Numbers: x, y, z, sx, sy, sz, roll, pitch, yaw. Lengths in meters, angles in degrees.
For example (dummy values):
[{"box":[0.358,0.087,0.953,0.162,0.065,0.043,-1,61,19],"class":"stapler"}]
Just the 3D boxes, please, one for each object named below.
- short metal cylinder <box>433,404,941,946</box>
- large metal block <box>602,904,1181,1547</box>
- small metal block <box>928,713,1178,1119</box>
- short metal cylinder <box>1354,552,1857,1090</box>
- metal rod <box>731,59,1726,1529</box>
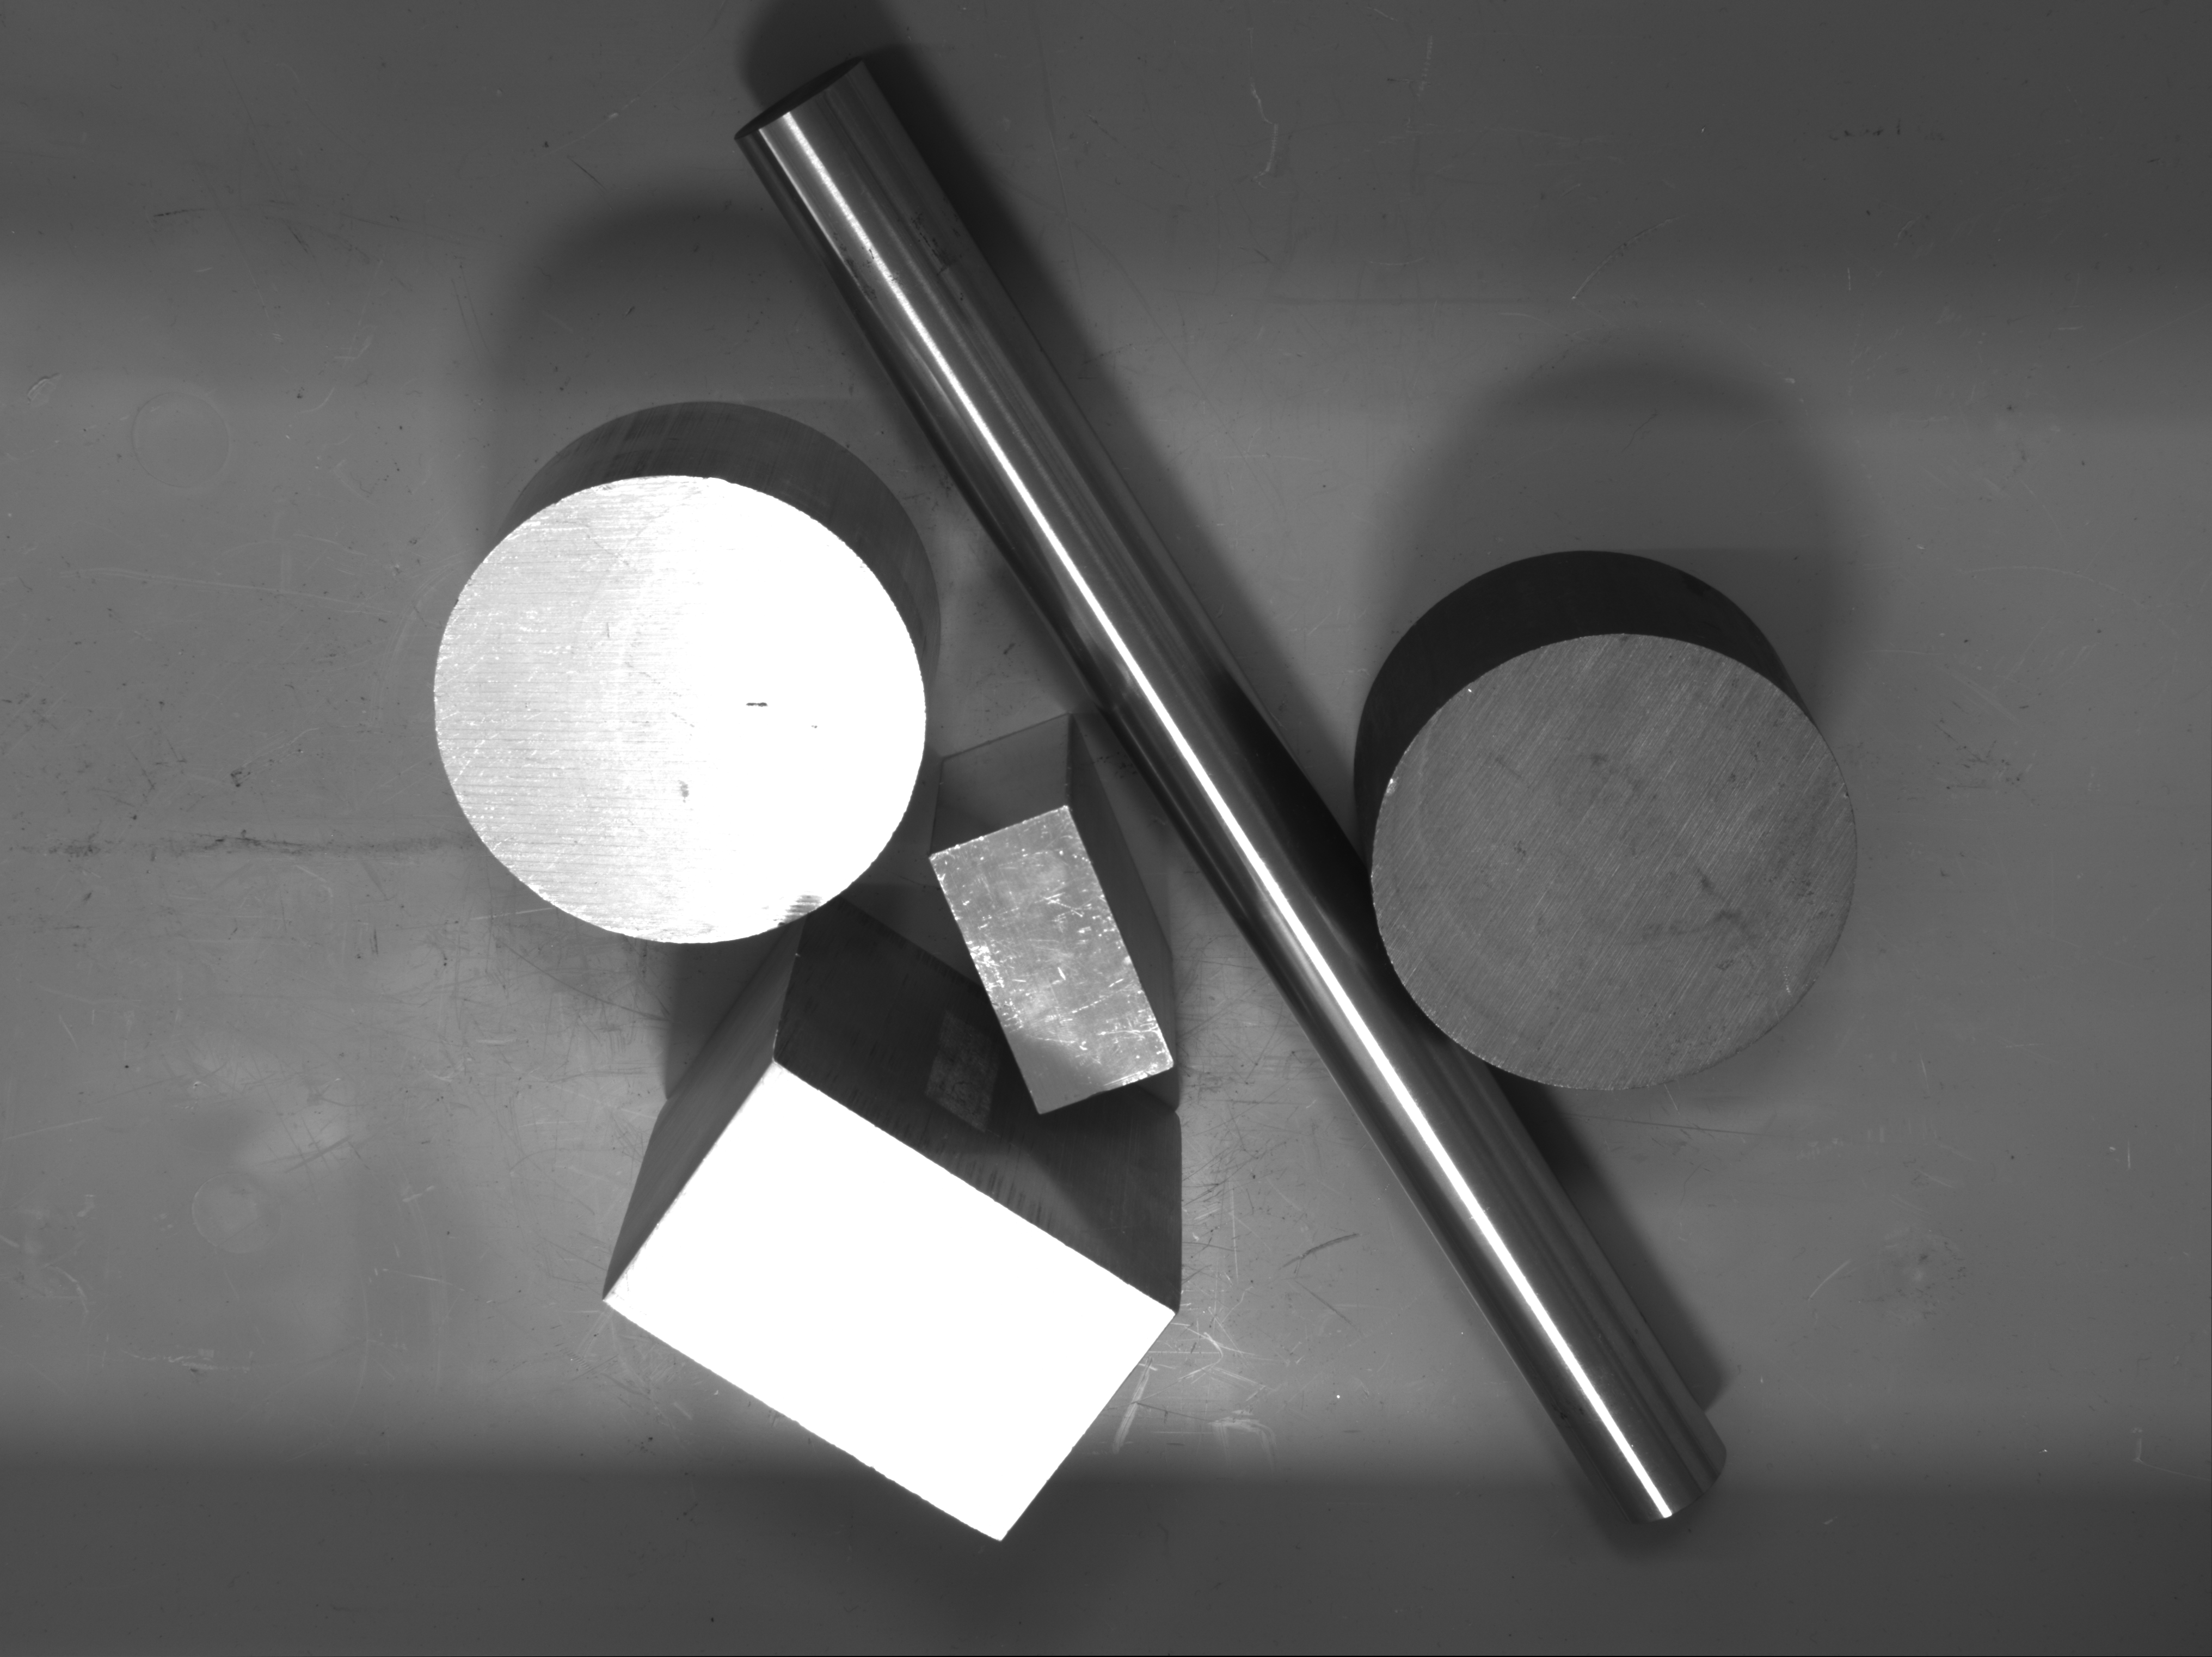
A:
[{"box":[-0.069,-0.027,0.620,0.080,0.050,0.080,0,110,0],"class":"short metal cylinder"},{"box":[-0.034,0.066,0.636,0.080,0.080,0.050,33,108,-10],"class":"large metal block"},{"box":[-0.009,0.014,0.634,0.025,0.050,0.050,-20,109,7],"class":"small metal block"},{"box":[0.084,-0.002,0.629,0.080,0.050,0.080,0,110,0],"class":"short metal cylinder"},{"box":[0.027,0.002,0.643,0.025,0.025,0.300,-30,107,10],"class":"metal rod"}]
